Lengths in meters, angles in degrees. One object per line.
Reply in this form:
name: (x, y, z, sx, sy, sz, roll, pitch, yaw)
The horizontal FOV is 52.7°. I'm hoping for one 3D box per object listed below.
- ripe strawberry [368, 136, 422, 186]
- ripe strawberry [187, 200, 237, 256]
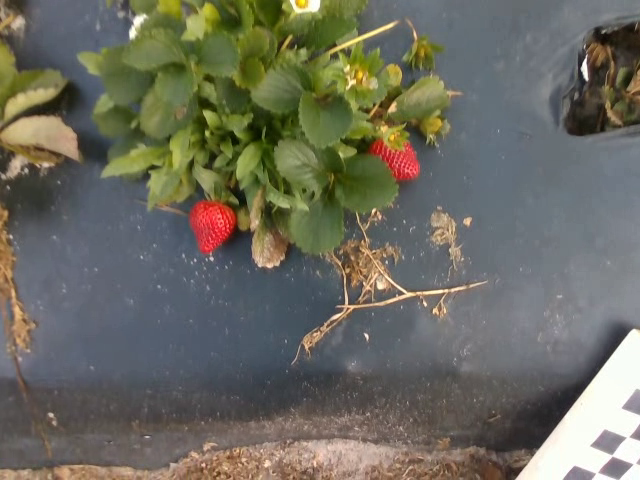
ripe strawberry: (0.062, -0.064, 0.529, 0.046, 0.043, 0.046, 32, 22, 23)
ripe strawberry: (-0.092, -0.011, 0.539, 0.043, 0.051, 0.043, 8, -5, 0)
